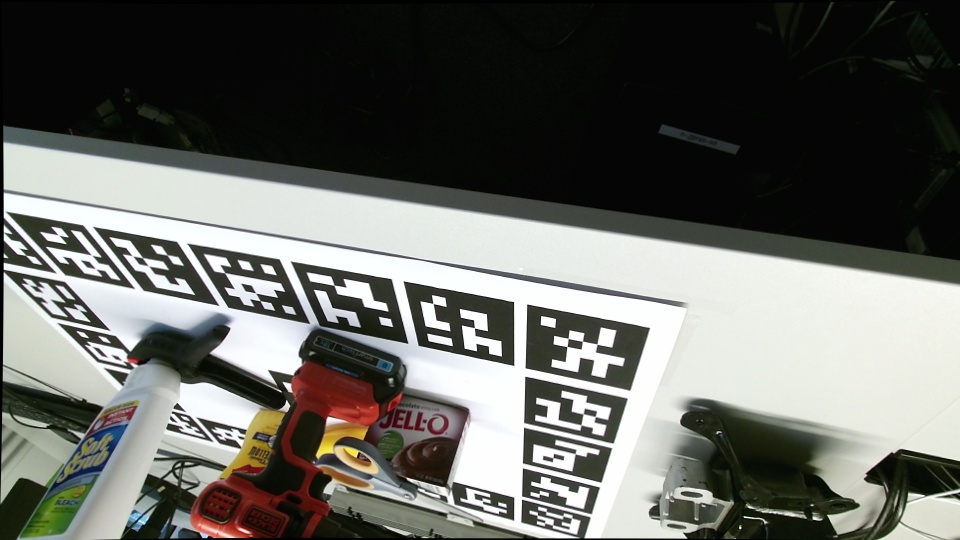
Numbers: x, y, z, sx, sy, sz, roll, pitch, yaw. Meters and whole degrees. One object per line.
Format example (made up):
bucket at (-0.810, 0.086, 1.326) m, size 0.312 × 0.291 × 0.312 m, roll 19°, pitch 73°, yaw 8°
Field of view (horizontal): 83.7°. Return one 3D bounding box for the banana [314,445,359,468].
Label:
banana at (-0.190, 0.276, 0.770) m, size 0.197 × 0.038 × 0.074 m, roll -24°, pitch 139°, yaw 38°

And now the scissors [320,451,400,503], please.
scissors at (-0.080, 0.256, 0.581) m, size 0.203 × 0.016 × 0.088 m, roll 29°, pitch 134°, yaw -3°

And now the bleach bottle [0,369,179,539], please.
bleach bottle at (-0.436, 0.212, 0.631) m, size 0.103 × 0.249 × 0.068 m, roll -10°, pitch 134°, yaw 20°

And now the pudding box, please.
pudding box at (-0.072, 0.205, 0.620) m, size 0.114 × 0.089 × 0.039 m, roll 12°, pitch 144°, yaw 10°

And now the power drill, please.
power drill at (-0.153, 0.190, 0.521) m, size 0.185 × 0.186 × 0.057 m, roll 16°, pitch 145°, yaw 1°

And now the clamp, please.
clamp at (-0.375, 0.134, 0.682) m, size 0.203 × 0.036 × 0.165 m, roll 6°, pitch 134°, yaw 18°

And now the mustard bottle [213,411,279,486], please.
mustard bottle at (-0.312, 0.294, 0.740) m, size 0.096 × 0.191 × 0.058 m, roll 20°, pitch 139°, yaw 3°
